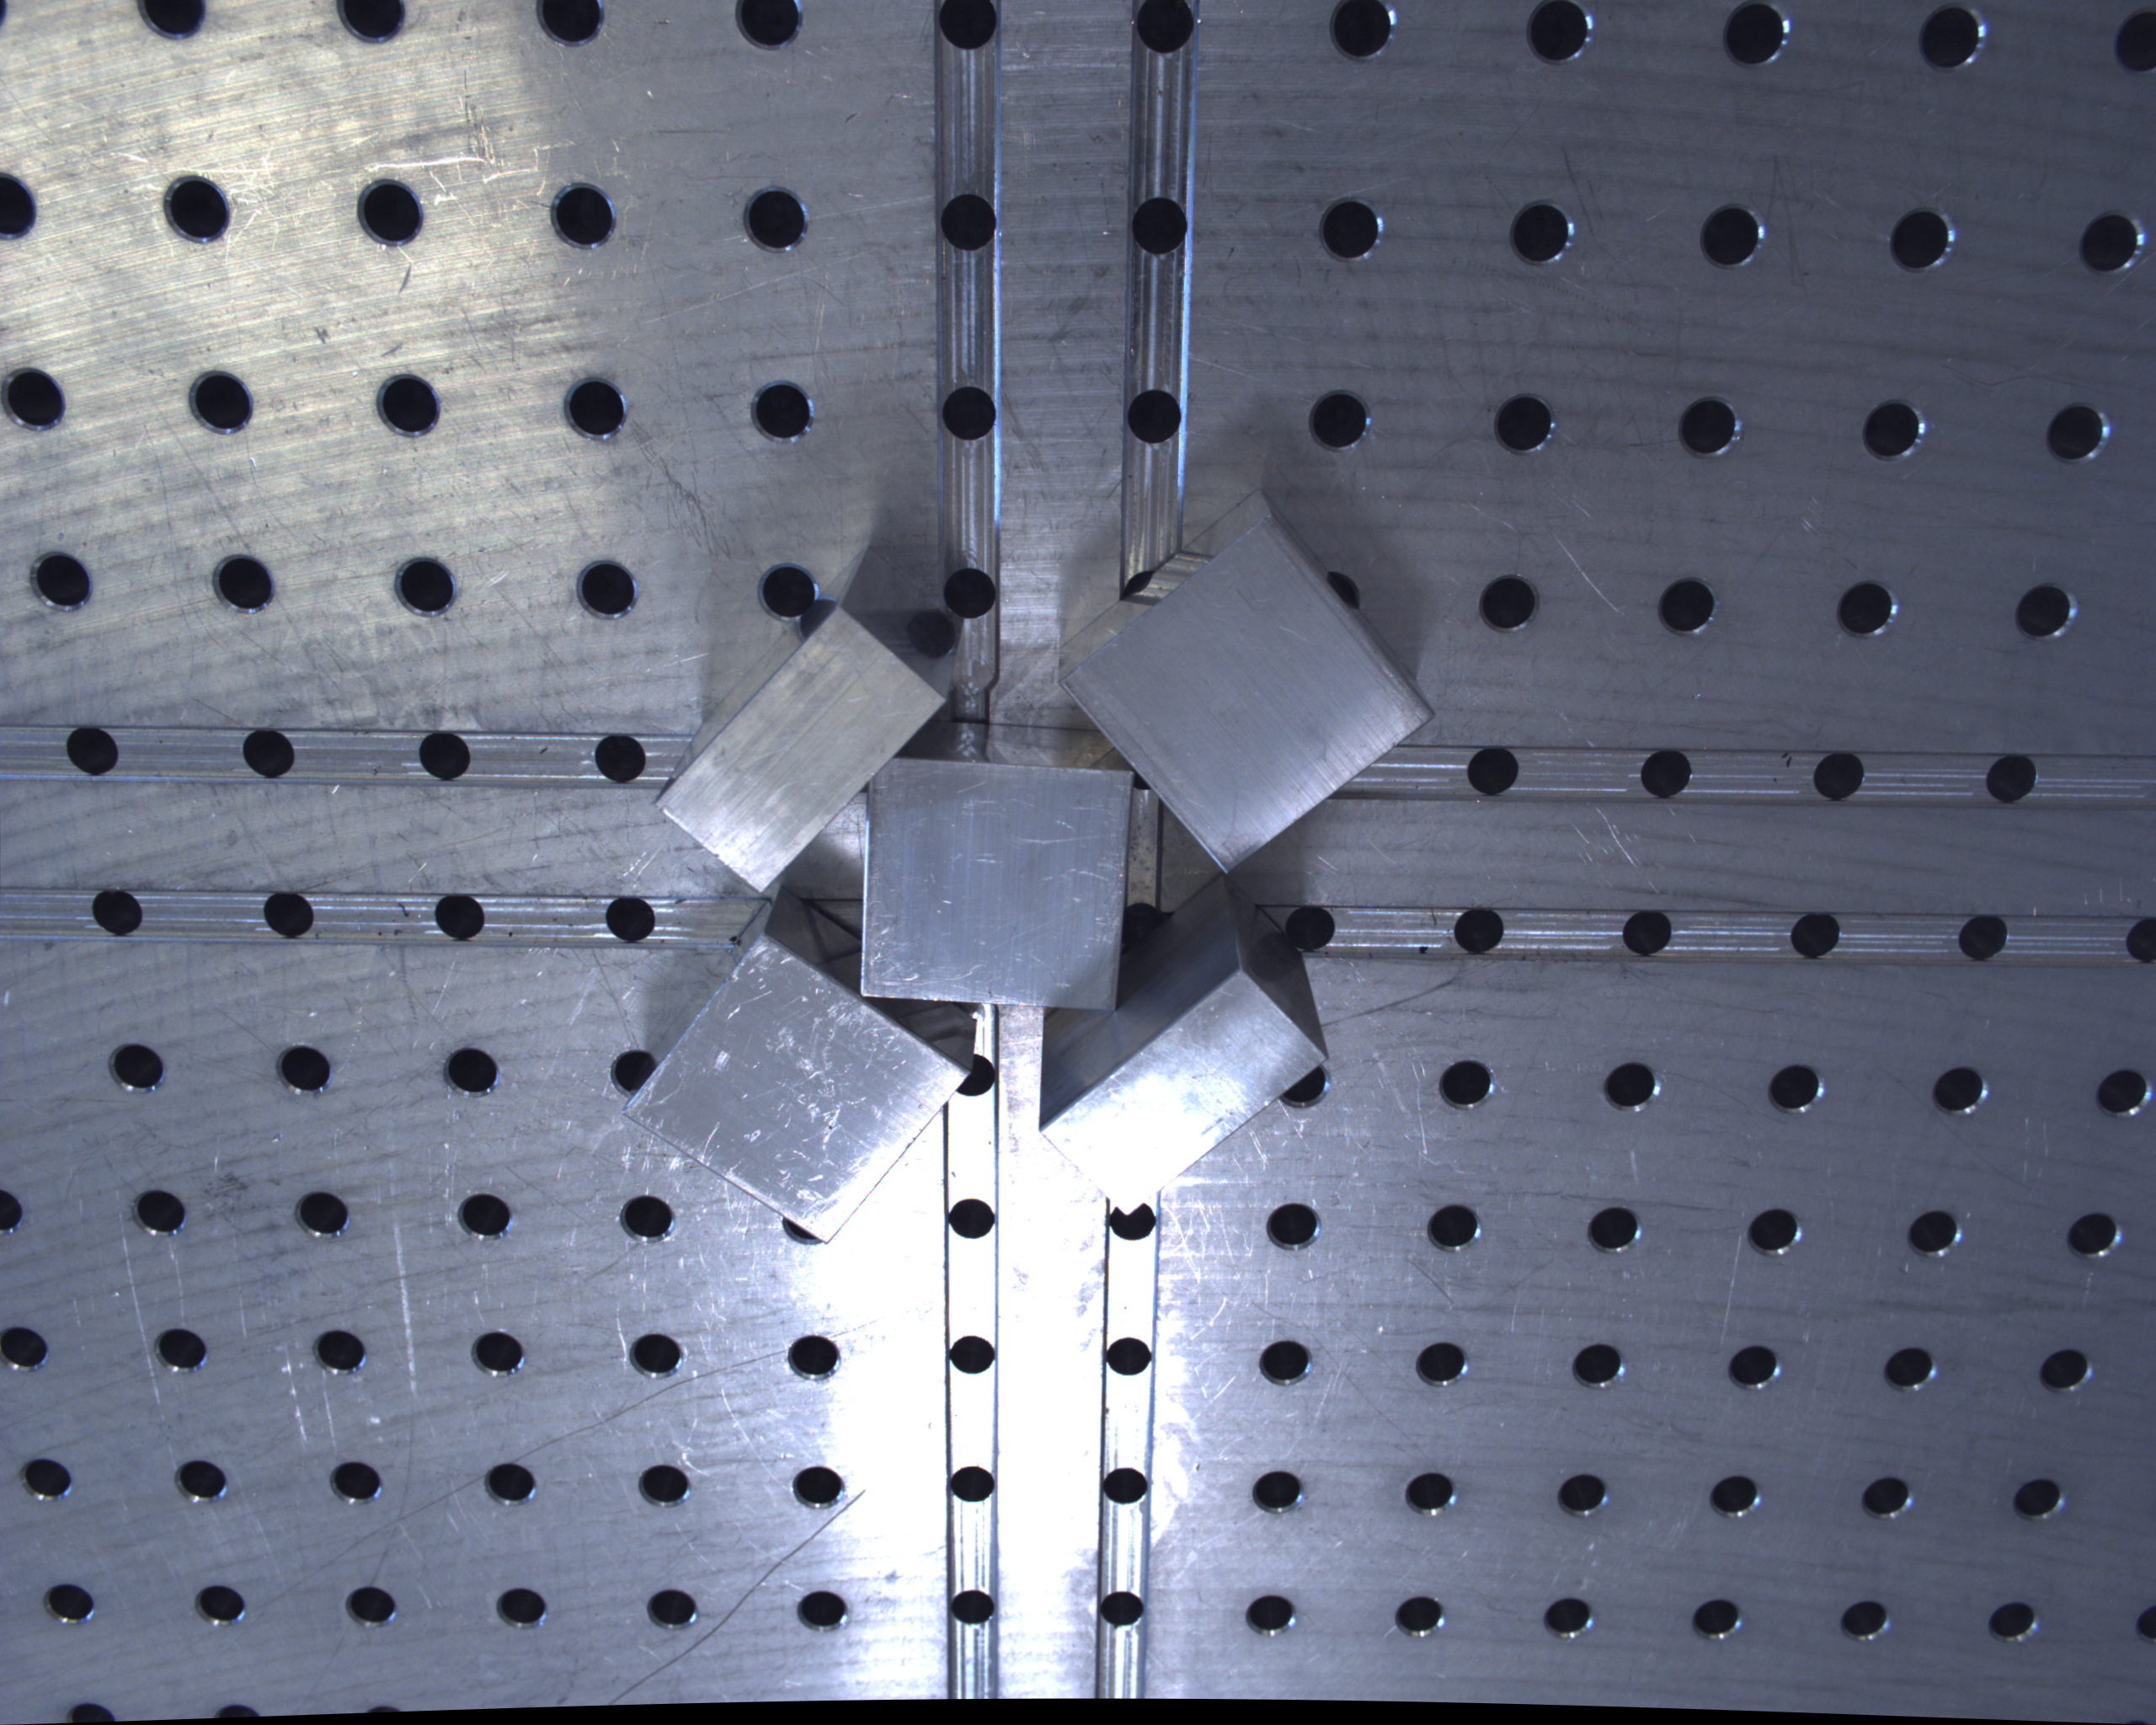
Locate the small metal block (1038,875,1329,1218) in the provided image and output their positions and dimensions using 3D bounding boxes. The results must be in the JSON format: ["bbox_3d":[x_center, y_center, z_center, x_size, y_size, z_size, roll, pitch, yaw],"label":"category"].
[{"bbox_3d":[0.020,0.035,0.413,0.050,0.050,0.025,-40,105,13],"label":"small metal block"}]

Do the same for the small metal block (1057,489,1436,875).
[{"bbox_3d":[0.032,-0.035,0.401,0.050,0.025,0.050,-38,106,13],"label":"small metal block"}]

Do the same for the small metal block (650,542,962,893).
[{"bbox_3d":[-0.049,-0.028,0.389,0.025,0.050,0.050,42,105,-15],"label":"small metal block"}]

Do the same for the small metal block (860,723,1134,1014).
[{"bbox_3d":[-0.016,0.000,0.413,0.050,0.025,0.050,4,109,0],"label":"small metal block"}]

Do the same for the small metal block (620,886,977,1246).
[{"bbox_3d":[-0.056,0.042,0.428,0.050,0.025,0.050,36,106,-13],"label":"small metal block"}]
